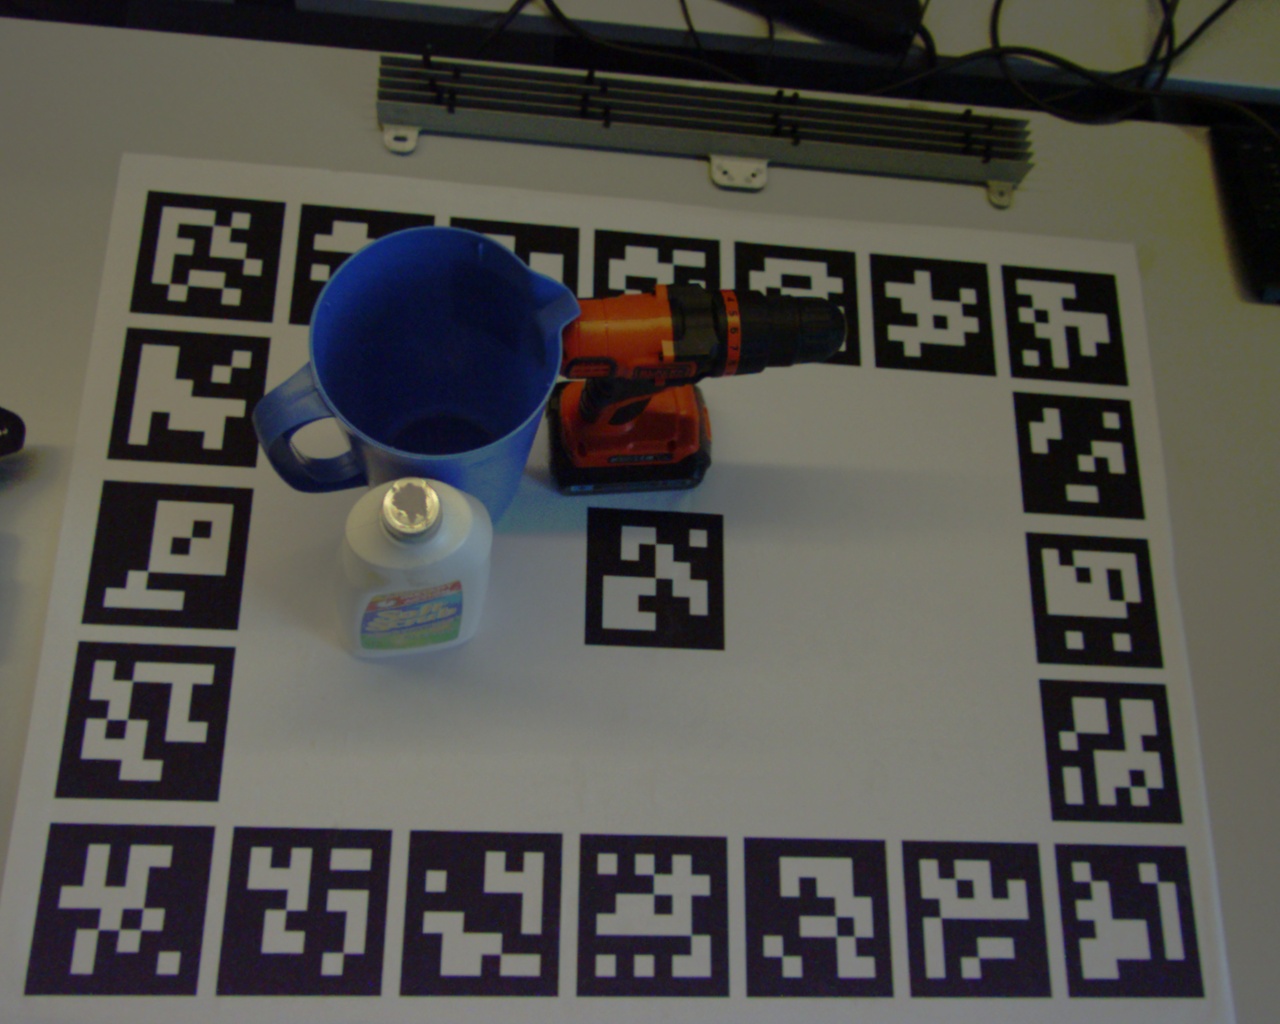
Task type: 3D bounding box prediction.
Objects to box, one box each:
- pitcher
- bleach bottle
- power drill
[{"bbox_3d":[-0.133,-0.060,0.734,0.188,0.243,0.133,-24,81,-14],"label":"pitcher"},{"bbox_3d":[-0.142,0.032,0.686,0.102,0.251,0.068,-4,76,-10],"label":"bleach bottle"},{"bbox_3d":[0.031,-0.067,0.768,0.183,0.188,0.057,-1,78,-15],"label":"power drill"}]
